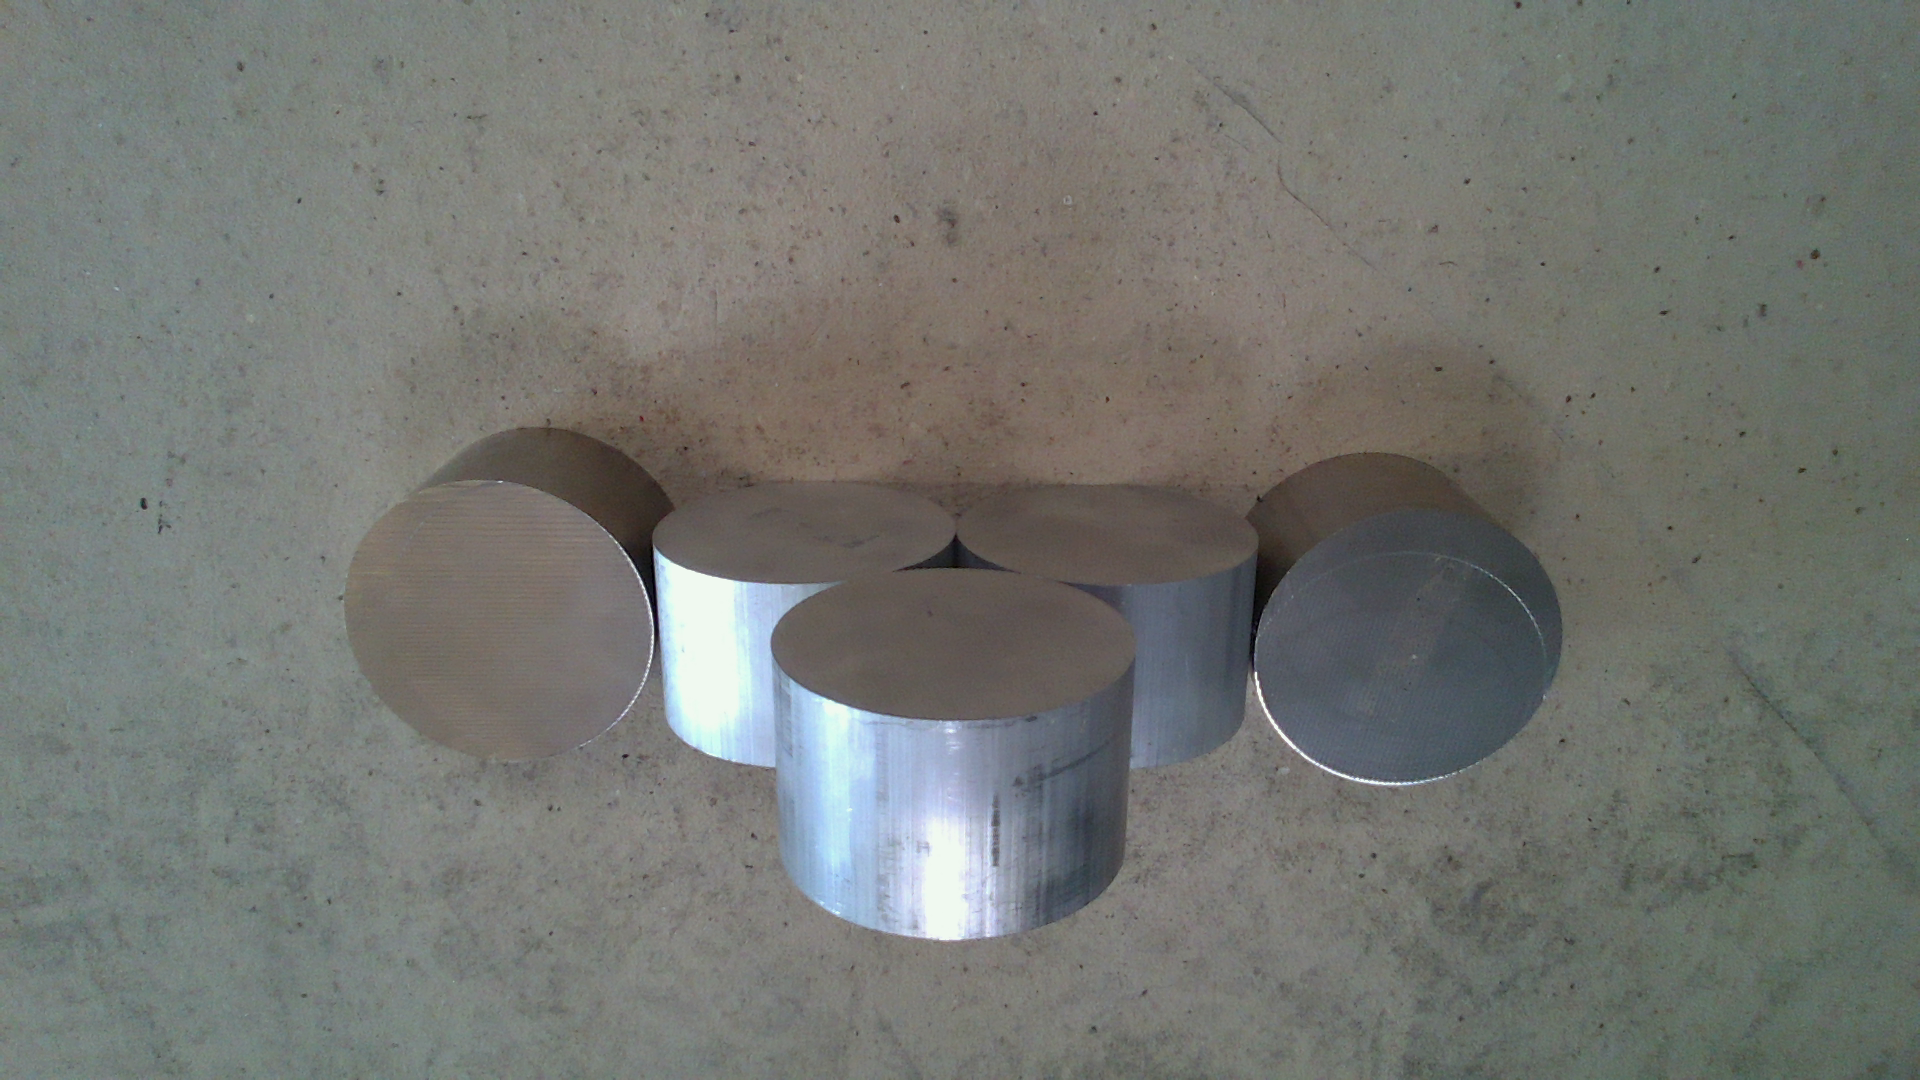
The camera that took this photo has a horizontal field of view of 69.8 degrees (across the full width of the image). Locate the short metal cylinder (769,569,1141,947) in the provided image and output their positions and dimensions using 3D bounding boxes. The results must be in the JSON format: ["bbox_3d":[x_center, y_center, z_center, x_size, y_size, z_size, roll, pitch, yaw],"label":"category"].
[{"bbox_3d":[-0.001,0.045,0.307,0.080,0.080,0.050,1,111,0],"label":"short metal cylinder"}]

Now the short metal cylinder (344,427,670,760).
[{"bbox_3d":[-0.121,0.014,0.385,0.080,0.050,0.080,0,110,0],"label":"short metal cylinder"}]

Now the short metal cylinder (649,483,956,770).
[{"bbox_3d":[-0.041,0.020,0.372,0.080,0.080,0.050,0,110,0],"label":"short metal cylinder"}]

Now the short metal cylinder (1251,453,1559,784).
[{"bbox_3d":[0.119,0.021,0.389,0.080,0.050,0.080,0,111,0],"label":"short metal cylinder"}]

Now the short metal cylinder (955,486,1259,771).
[{"bbox_3d":[0.039,0.021,0.373,0.080,0.080,0.050,0,109,0],"label":"short metal cylinder"}]
